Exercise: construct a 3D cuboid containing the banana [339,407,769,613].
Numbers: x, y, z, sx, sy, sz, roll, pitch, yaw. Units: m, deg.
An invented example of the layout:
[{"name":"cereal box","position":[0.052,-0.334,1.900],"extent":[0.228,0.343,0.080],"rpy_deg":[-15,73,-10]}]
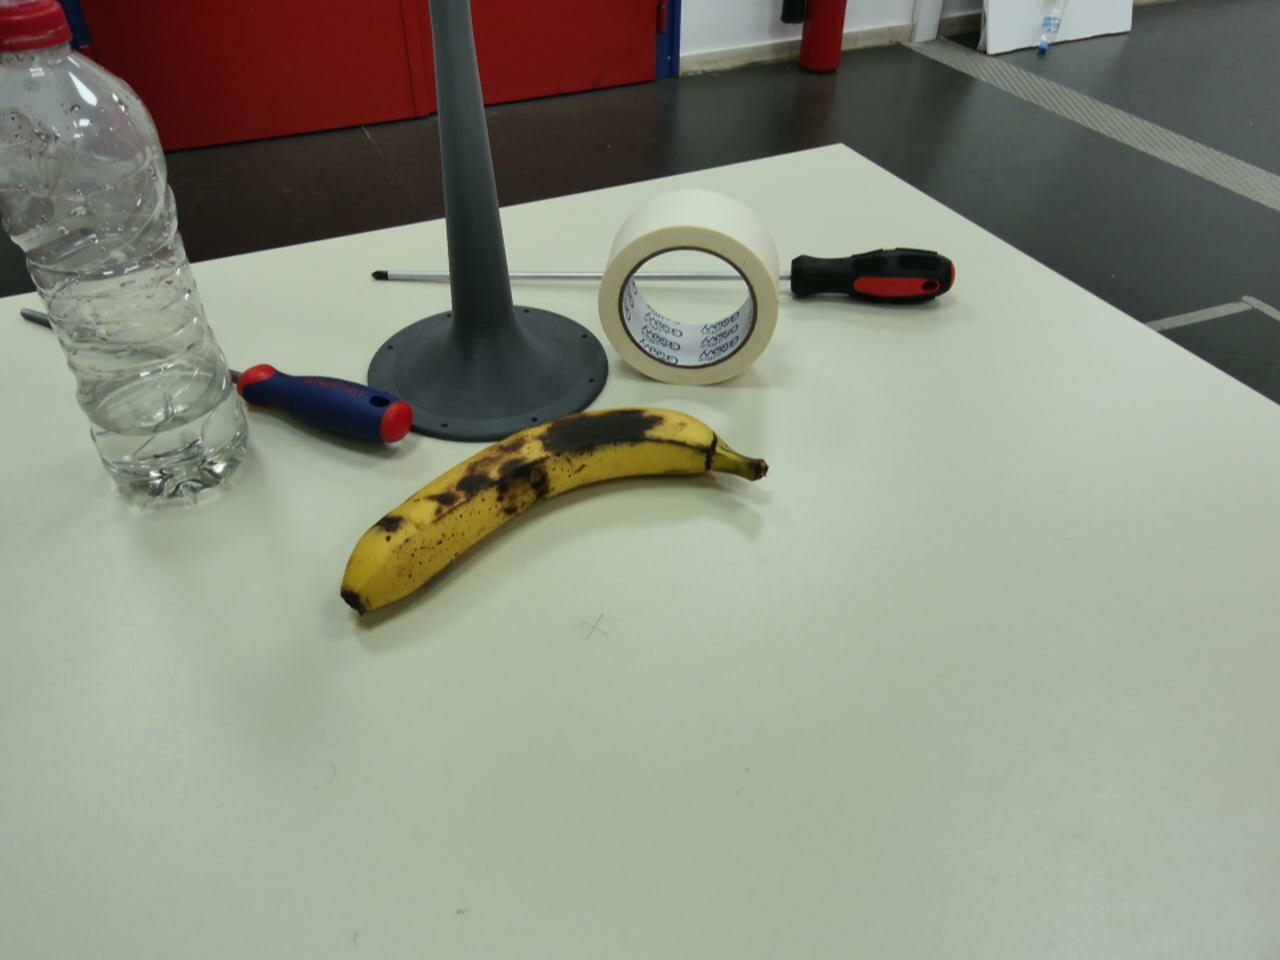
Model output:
[{"name":"banana","position":[-0.049,0.003,0.510],"extent":[0.222,0.037,0.084],"rpy_deg":[-16,41,-20]}]
